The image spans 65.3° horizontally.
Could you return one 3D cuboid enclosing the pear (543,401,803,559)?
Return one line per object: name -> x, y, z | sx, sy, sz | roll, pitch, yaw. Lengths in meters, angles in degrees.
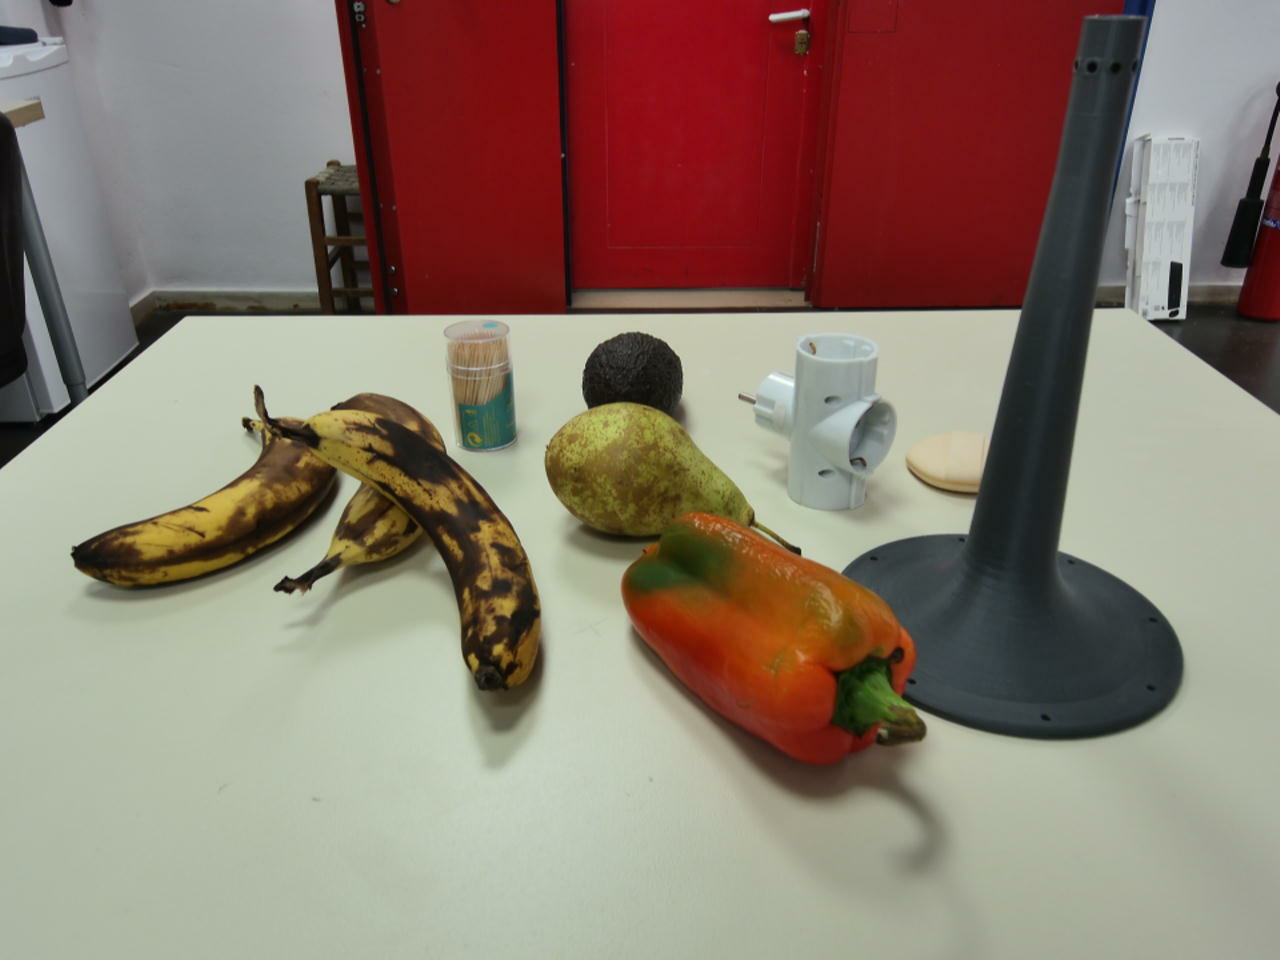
pear -> 0.014, -0.005, 0.531 | 0.128, 0.075, 0.071 | -4, 26, -7
